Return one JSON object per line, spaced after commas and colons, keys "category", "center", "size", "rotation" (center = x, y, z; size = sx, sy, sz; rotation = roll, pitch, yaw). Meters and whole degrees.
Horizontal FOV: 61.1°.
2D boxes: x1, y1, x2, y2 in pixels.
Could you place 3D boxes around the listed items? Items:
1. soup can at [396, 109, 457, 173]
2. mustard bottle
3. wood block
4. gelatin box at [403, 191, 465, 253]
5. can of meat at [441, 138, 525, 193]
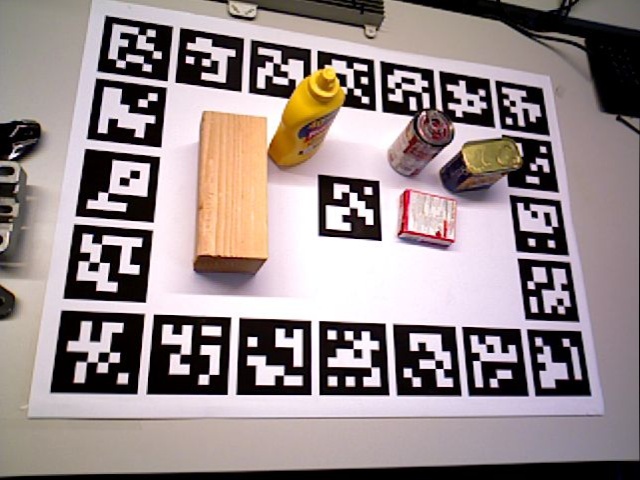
{"category": "soup can", "center": [0.164, -0.152, 0.821], "size": [0.067, 0.104, 0.067], "rotation": [4, 72, -13]}
{"category": "mustard bottle", "center": [-0.014, -0.169, 0.746], "size": [0.094, 0.195, 0.058], "rotation": [-22, 78, -23]}
{"category": "wood block", "center": [-0.118, -0.061, 0.735], "size": [0.090, 0.092, 0.204], "rotation": [5, 67, -15]}
{"category": "gelatin box", "center": [0.176, -0.027, 0.828], "size": [0.089, 0.030, 0.072], "rotation": [13, 72, -8]}
{"category": "can of meat", "center": [0.254, -0.118, 0.853], "size": [0.100, 0.085, 0.057], "rotation": [-10, 75, -20]}
